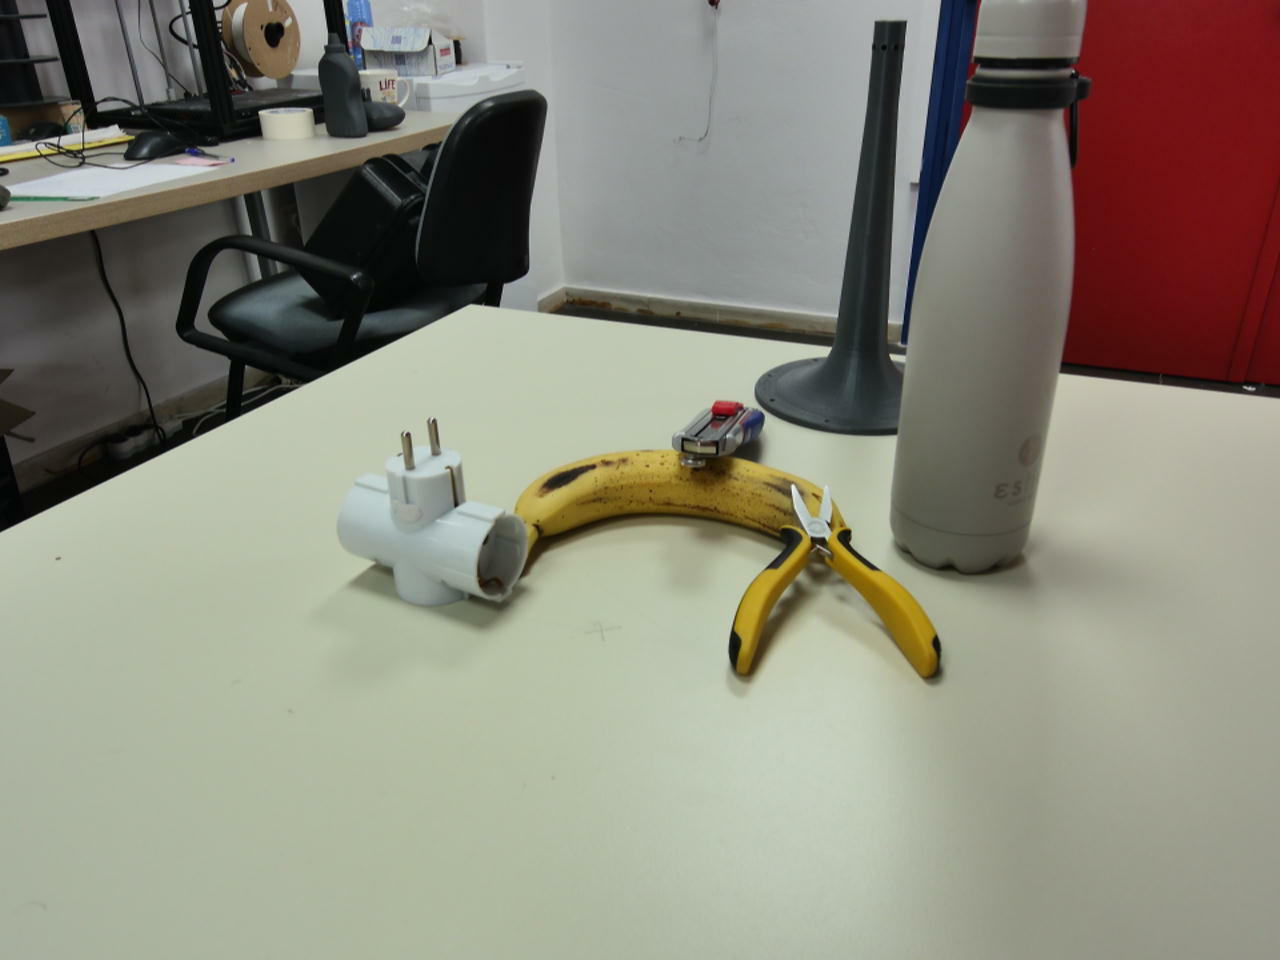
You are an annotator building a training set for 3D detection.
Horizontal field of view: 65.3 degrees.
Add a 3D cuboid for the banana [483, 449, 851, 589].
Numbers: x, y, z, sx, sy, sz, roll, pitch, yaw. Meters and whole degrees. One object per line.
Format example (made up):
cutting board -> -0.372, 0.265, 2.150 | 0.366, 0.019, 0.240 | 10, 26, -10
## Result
banana -> 0.015, 0.014, 0.549 | 0.186, 0.038, 0.097 | -2, 25, -3
